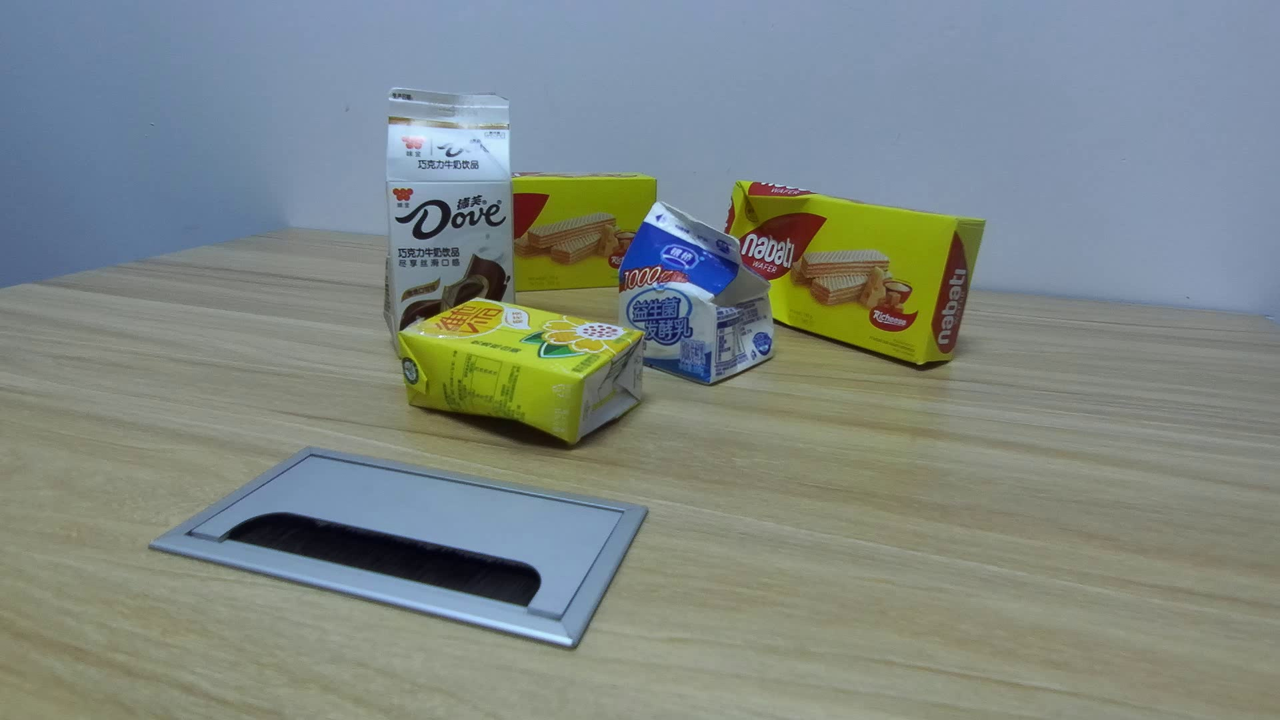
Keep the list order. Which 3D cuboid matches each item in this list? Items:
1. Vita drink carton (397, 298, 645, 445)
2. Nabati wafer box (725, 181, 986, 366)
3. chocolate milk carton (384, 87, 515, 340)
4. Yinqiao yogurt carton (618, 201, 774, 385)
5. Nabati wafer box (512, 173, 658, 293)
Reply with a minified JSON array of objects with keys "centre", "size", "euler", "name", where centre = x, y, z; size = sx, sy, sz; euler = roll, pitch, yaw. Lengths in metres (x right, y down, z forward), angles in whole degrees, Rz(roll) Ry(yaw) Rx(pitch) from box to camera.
[{"centre":[-0.062,0.006,0.362],"size":[0.108,0.043,0.076],"euler":[13,27,23],"name":"Vita drink carton"},{"centre":[0.131,-0.069,0.503],"size":[0.042,0.096,0.202],"euler":[-3,20,-40],"name":"Nabati wafer box"},{"centre":[-0.123,-0.088,0.442],"size":[0.084,0.155,0.073],"euler":[-6,24,-19],"name":"chocolate milk carton"},{"centre":[0.034,-0.046,0.432],"size":[0.083,0.093,0.077],"euler":[18,26,37],"name":"Yinqiao yogurt carton"},{"centre":[-0.083,-0.105,0.597],"size":[0.203,0.093,0.042],"euler":[-2,8,-6],"name":"Nabati wafer box"}]
